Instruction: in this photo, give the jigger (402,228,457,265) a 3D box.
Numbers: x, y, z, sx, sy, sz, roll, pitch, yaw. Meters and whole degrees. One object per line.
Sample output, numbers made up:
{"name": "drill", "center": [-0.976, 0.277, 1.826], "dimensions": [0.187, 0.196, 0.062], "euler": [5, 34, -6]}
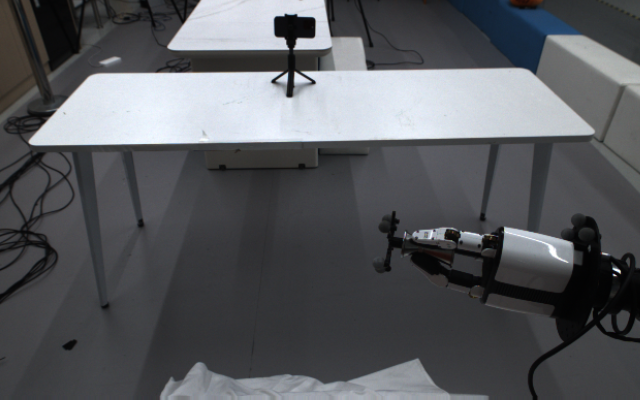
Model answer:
{"name": "jigger", "center": [0.154, 0.061, 0.657], "dimensions": [0.071, 0.043, 0.043], "euler": [8, 35, 13]}
